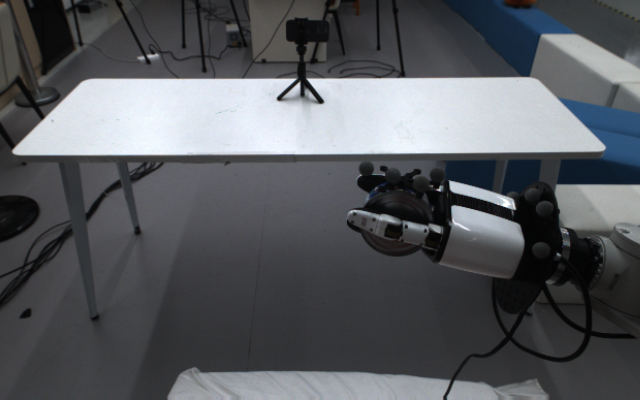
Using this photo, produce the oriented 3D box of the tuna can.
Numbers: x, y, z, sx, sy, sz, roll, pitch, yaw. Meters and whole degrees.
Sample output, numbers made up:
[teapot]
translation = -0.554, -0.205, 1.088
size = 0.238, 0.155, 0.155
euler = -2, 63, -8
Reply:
[tuna can]
translation = 0.092, 0.021, 0.571
size = 0.085, 0.085, 0.034
euler = 7, 21, 7
